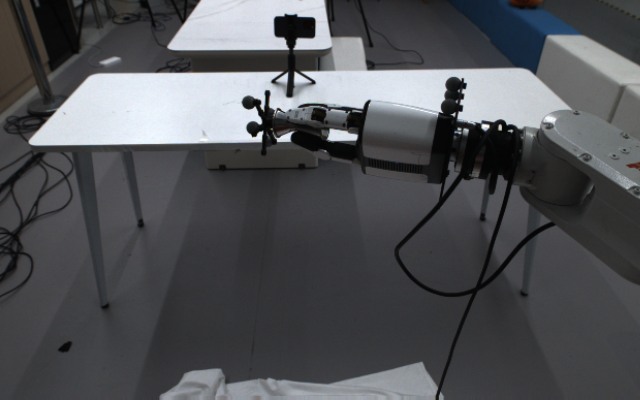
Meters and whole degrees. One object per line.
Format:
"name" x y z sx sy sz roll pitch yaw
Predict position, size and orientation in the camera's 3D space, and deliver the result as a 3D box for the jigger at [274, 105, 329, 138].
"jigger" -0.021 -0.108 0.647 0.071 0.043 0.043 2 34 15
